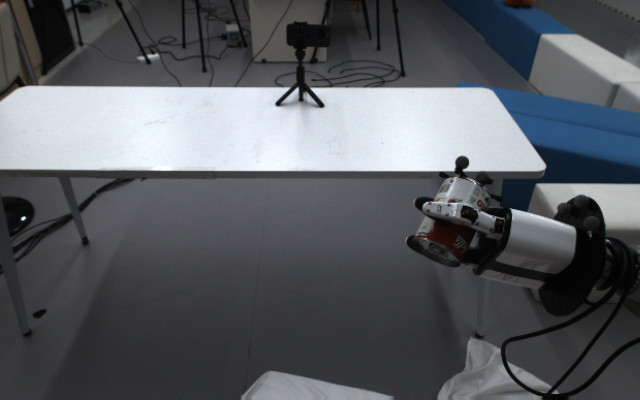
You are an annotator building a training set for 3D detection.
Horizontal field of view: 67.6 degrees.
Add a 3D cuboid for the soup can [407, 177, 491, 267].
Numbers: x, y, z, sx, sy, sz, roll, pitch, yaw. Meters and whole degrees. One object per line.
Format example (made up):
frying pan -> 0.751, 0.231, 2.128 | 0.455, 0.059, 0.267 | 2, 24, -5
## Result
soup can -> 0.175, 0.026, 0.631 | 0.067, 0.067, 0.101 | 22, 71, 26
